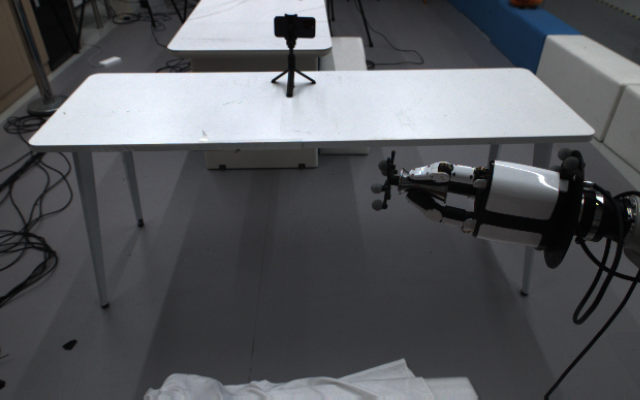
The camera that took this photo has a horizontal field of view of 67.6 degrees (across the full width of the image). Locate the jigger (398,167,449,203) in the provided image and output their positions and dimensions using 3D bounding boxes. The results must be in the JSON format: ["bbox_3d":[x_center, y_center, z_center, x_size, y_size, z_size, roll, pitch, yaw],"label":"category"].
[{"bbox_3d":[0.155,-0.026,0.695,0.071,0.043,0.043,10,35,15],"label":"jigger"}]
